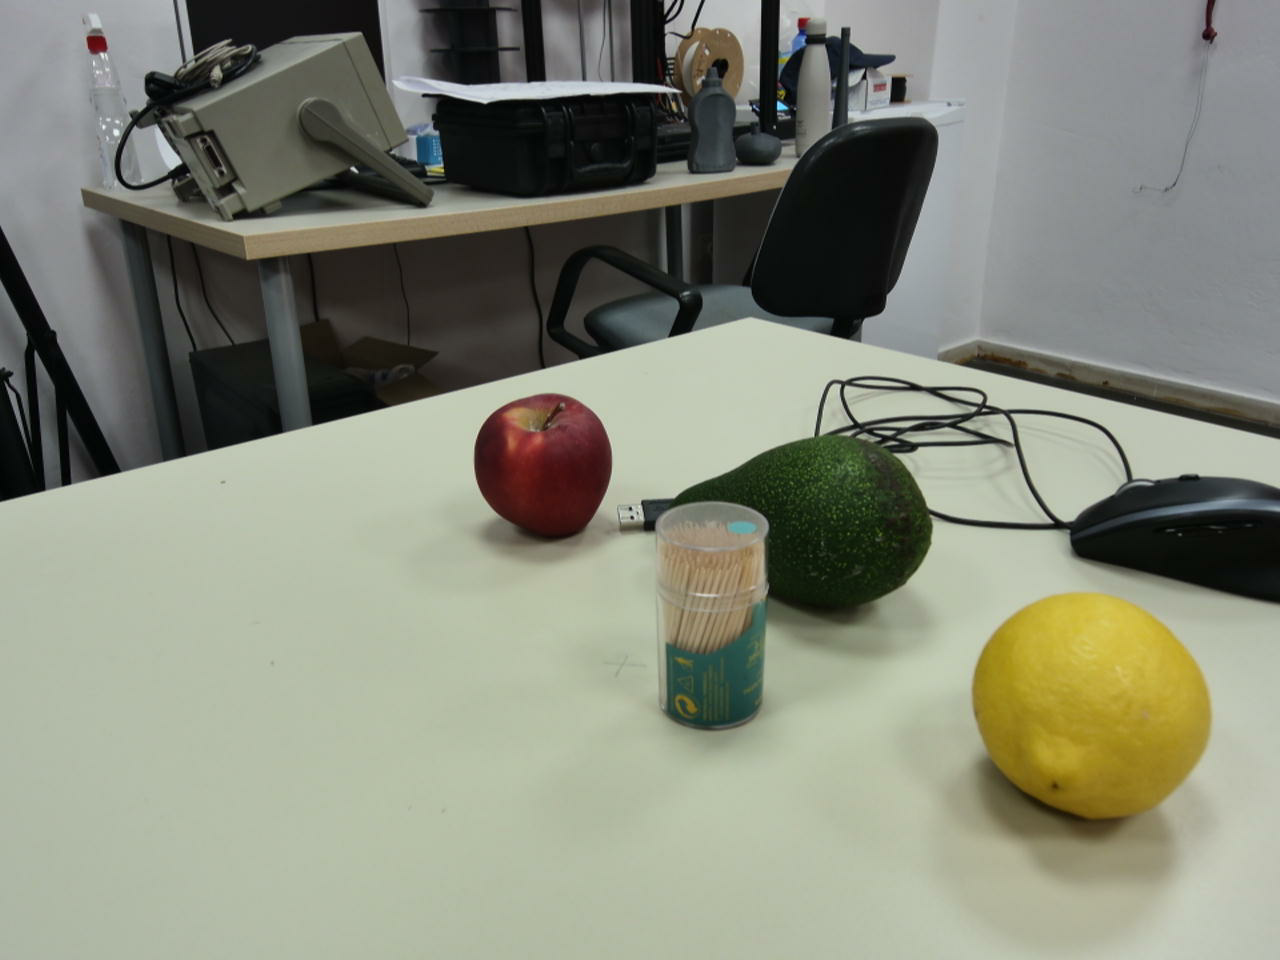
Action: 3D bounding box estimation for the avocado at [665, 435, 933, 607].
[{"bbox_3d":[0.073,0.013,0.441,0.074,0.076,0.123,-14,25,-30],"label":"avocado"}]
